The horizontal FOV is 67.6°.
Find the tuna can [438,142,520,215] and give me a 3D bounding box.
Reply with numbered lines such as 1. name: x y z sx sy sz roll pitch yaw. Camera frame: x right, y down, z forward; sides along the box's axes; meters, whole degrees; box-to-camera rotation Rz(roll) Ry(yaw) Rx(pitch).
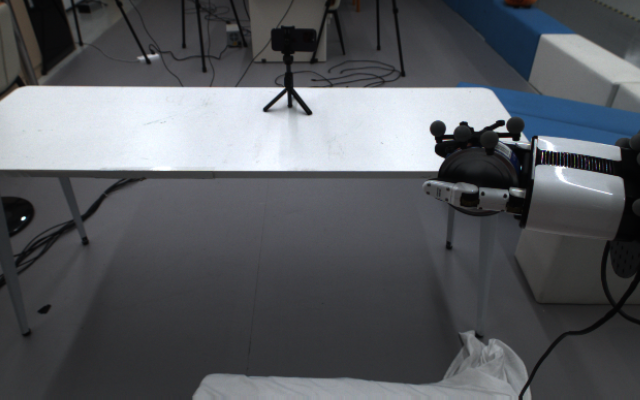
1. tuna can: 0.179 -0.029 0.542 0.085 0.085 0.034 17 37 20
